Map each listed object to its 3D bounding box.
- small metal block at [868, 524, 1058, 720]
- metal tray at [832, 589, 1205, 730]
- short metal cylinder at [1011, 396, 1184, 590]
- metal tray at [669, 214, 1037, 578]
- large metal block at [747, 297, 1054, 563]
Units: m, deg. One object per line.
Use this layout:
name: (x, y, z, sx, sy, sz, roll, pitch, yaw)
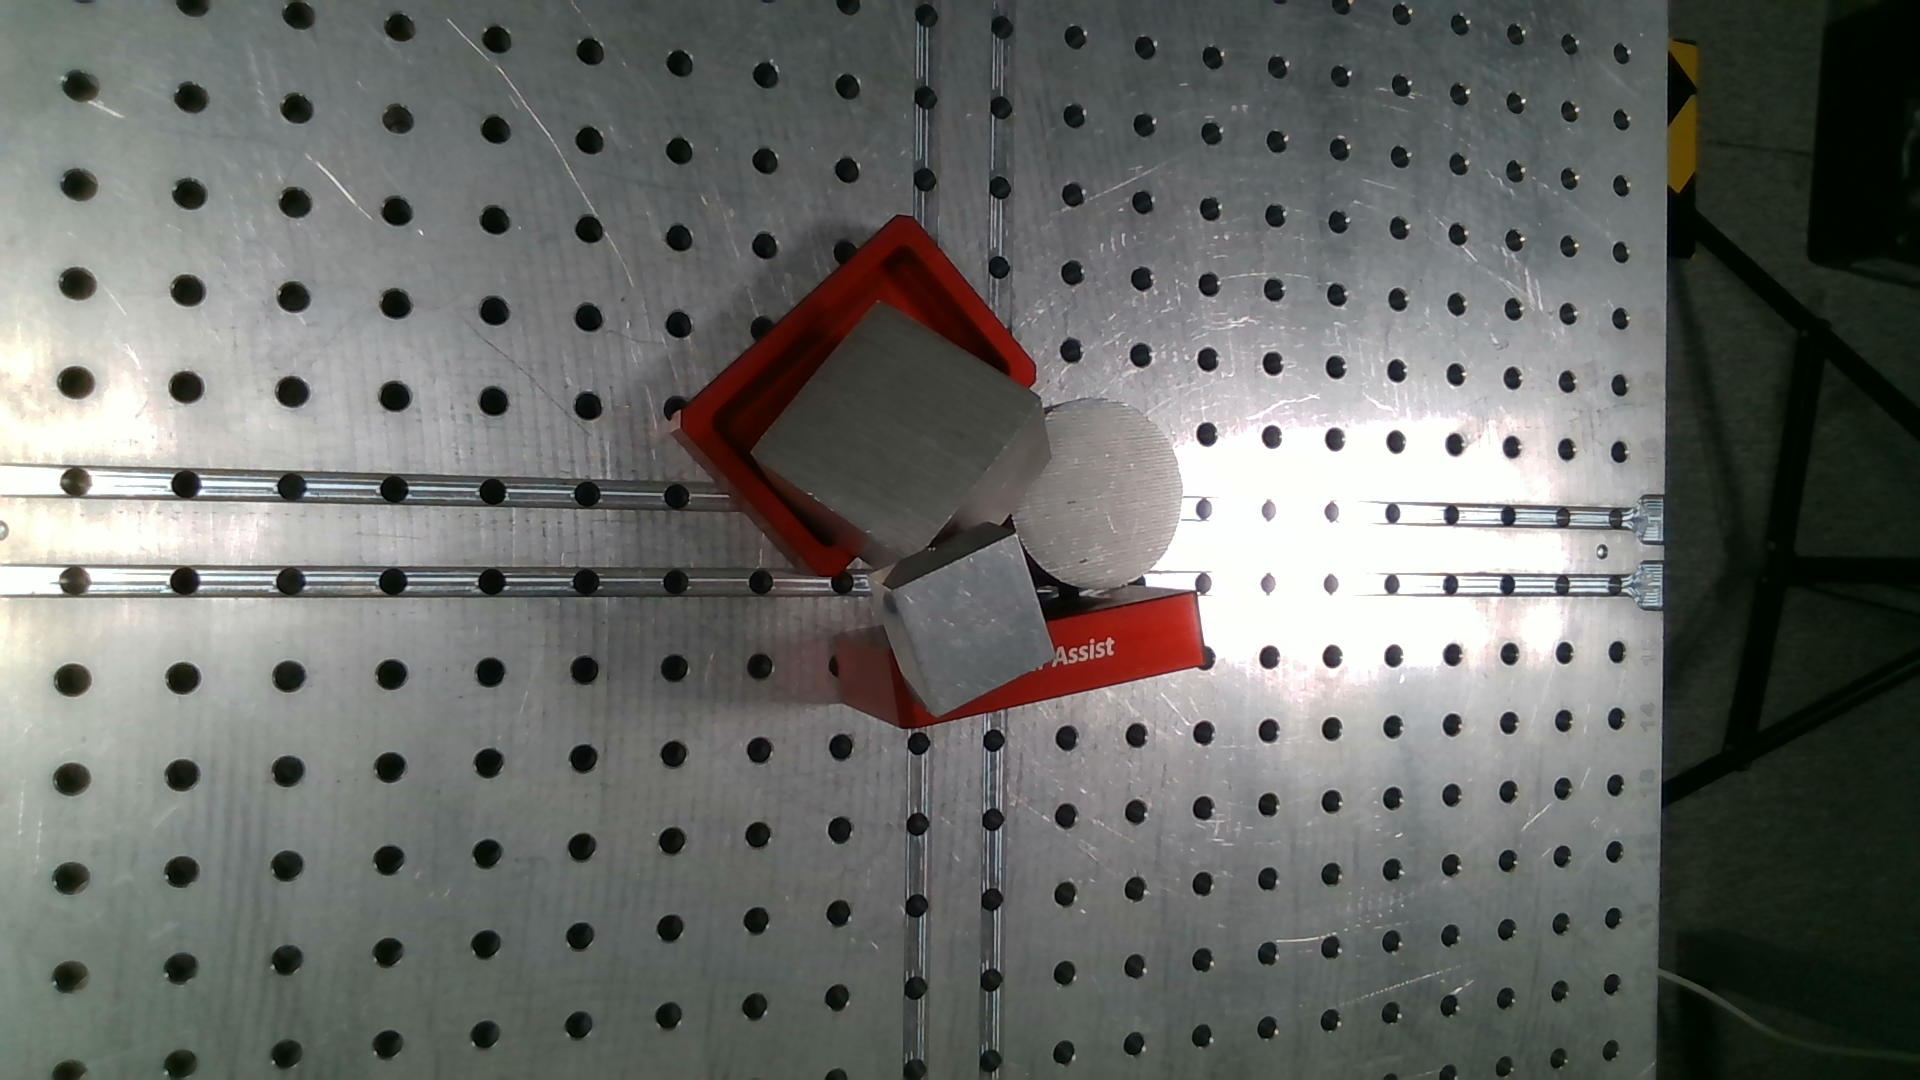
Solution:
small metal block: (0.001, 0.028, 0.489, 0.050, 0.025, 0.050, -25, 110, -18)
metal tray: (0.022, 0.045, 0.562, 0.130, 0.090, 0.030, -10, 93, -20)
short metal cylinder: (0.049, -0.019, 0.593, 0.080, 0.050, 0.080, 0, 90, -20)
metal tray: (-0.043, -0.059, 0.569, 0.130, 0.030, 0.090, -45, 104, -14)
large metal block: (-0.021, -0.033, 0.534, 0.080, 0.050, 0.080, 33, 77, 19)
